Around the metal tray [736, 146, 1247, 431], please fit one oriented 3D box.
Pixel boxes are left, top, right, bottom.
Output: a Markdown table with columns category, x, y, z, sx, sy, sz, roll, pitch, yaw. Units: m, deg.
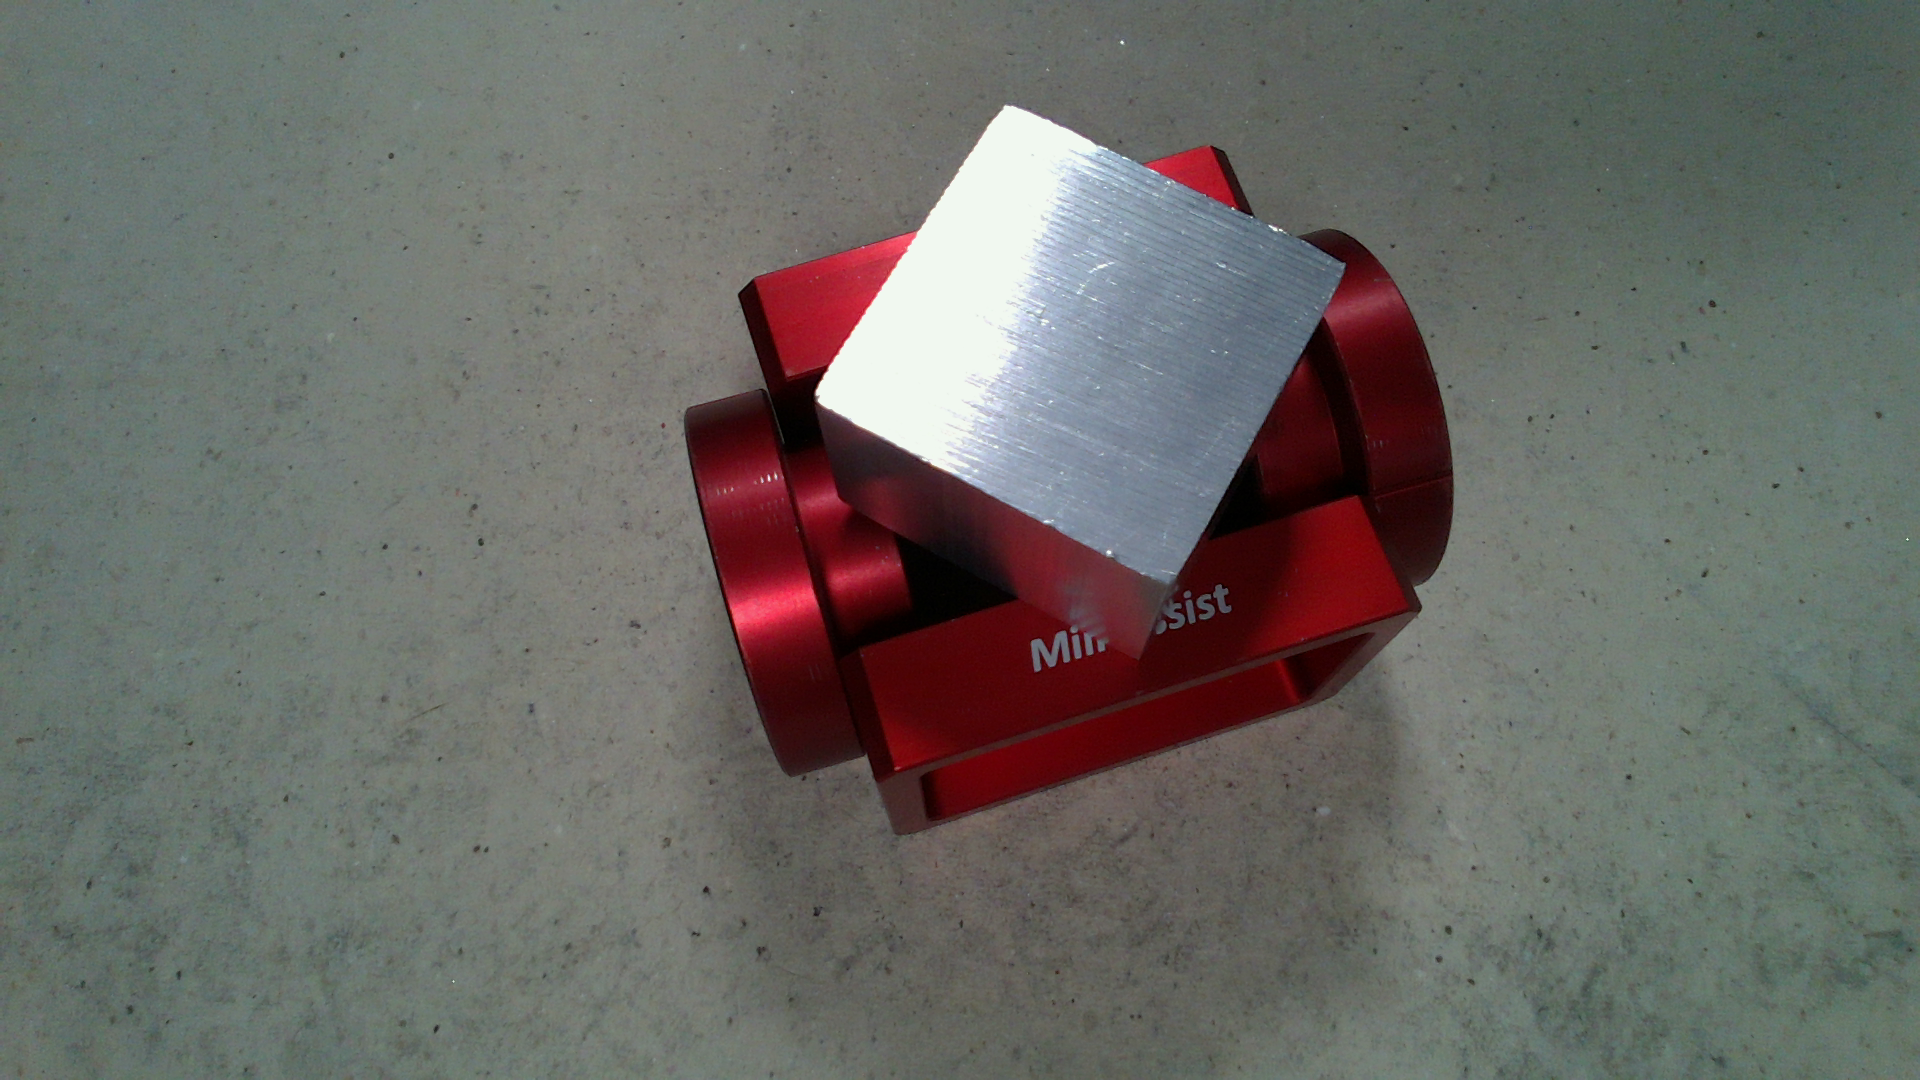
| category | x | y | z | sx | sy | sz | roll | pitch | yaw |
| --- | --- | --- | --- | --- | --- | --- | --- | --- | --- |
| metal tray | 0.011 | -0.055 | 0.381 | 0.130 | 0.090 | 0.030 | -17 | 71 | -6 |

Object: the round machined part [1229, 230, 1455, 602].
| category | x | y | z | sx | sy | sz | roll | pitch | yaw |
| --- | --- | --- | --- | --- | --- | --- | --- | --- | --- |
| round machined part | 0.088 | -0.029 | 0.366 | 0.042 | 0.098 | 0.098 | -15 | 71 | -5 |

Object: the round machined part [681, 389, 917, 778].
| category | x | y | z | sx | sy | sz | roll | pitch | yaw |
| --- | --- | --- | --- | --- | --- | --- | --- | --- | --- |
| round machined part | -0.037 | 0.008 | 0.353 | 0.042 | 0.098 | 0.098 | -15 | 71 | -5 |

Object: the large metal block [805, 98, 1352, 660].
| category | x | y | z | sx | sy | sz | roll | pitch | yaw |
| --- | --- | --- | --- | --- | --- | --- | --- | --- | --- |
| large metal block | 0.025 | -0.034 | 0.295 | 0.080 | 0.050 | 0.080 | 28 | 72 | 10 |

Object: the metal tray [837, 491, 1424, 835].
| category | x | y | z | sx | sy | sz | roll | pitch | yaw |
| --- | --- | --- | --- | --- | --- | --- | --- | --- | --- |
| metal tray | 0.039 | 0.034 | 0.346 | 0.130 | 0.090 | 0.030 | -17 | 71 | -6 |
